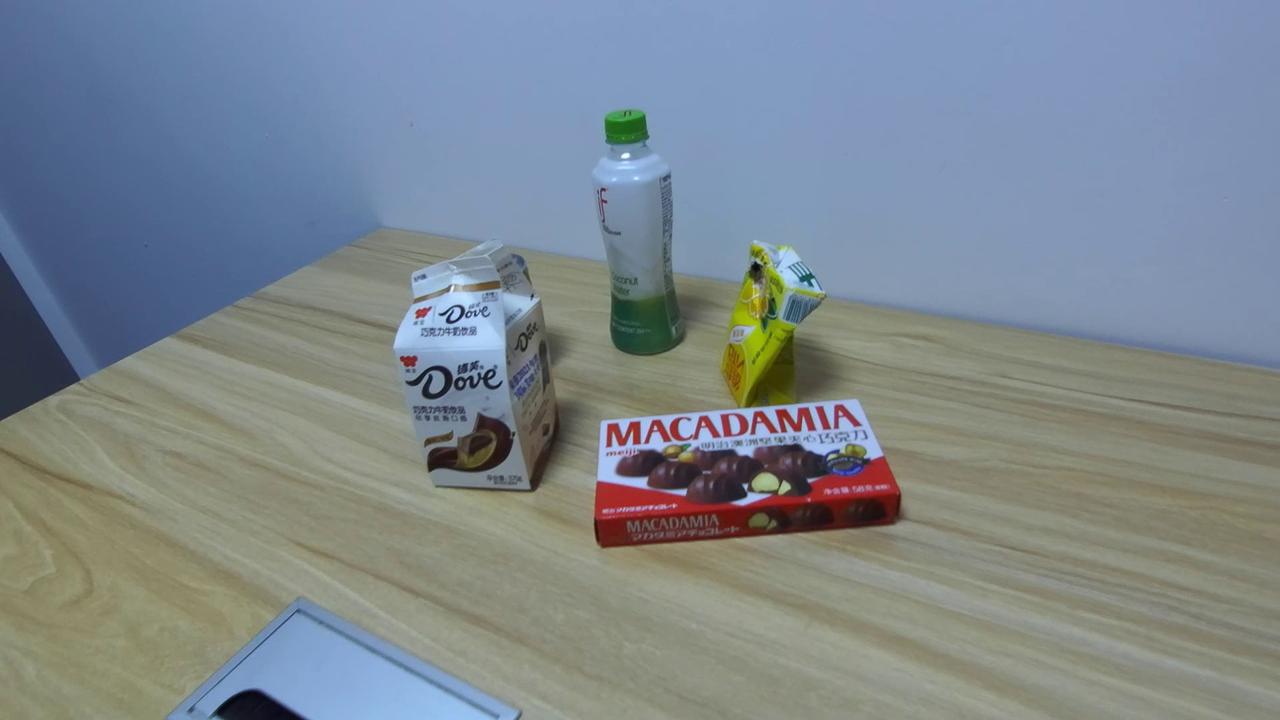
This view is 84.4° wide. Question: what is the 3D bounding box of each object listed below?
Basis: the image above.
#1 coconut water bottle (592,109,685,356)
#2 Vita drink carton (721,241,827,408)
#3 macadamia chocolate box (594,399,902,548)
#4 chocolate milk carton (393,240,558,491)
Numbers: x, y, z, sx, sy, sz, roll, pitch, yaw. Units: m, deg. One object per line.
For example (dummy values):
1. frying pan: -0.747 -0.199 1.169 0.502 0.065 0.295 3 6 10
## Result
1. coconut water bottle: -0.001 -0.099 0.565 0.063 0.189 0.063 -5 30 3
2. Vita drink carton: 0.096 -0.023 0.513 0.042 0.108 0.086 2 34 -13
3. macadamia chocolate box: 0.062 0.069 0.450 0.178 0.027 0.095 -5 33 3
4. chocolate milk carton: -0.105 0.002 0.463 0.076 0.156 0.073 1 32 12
